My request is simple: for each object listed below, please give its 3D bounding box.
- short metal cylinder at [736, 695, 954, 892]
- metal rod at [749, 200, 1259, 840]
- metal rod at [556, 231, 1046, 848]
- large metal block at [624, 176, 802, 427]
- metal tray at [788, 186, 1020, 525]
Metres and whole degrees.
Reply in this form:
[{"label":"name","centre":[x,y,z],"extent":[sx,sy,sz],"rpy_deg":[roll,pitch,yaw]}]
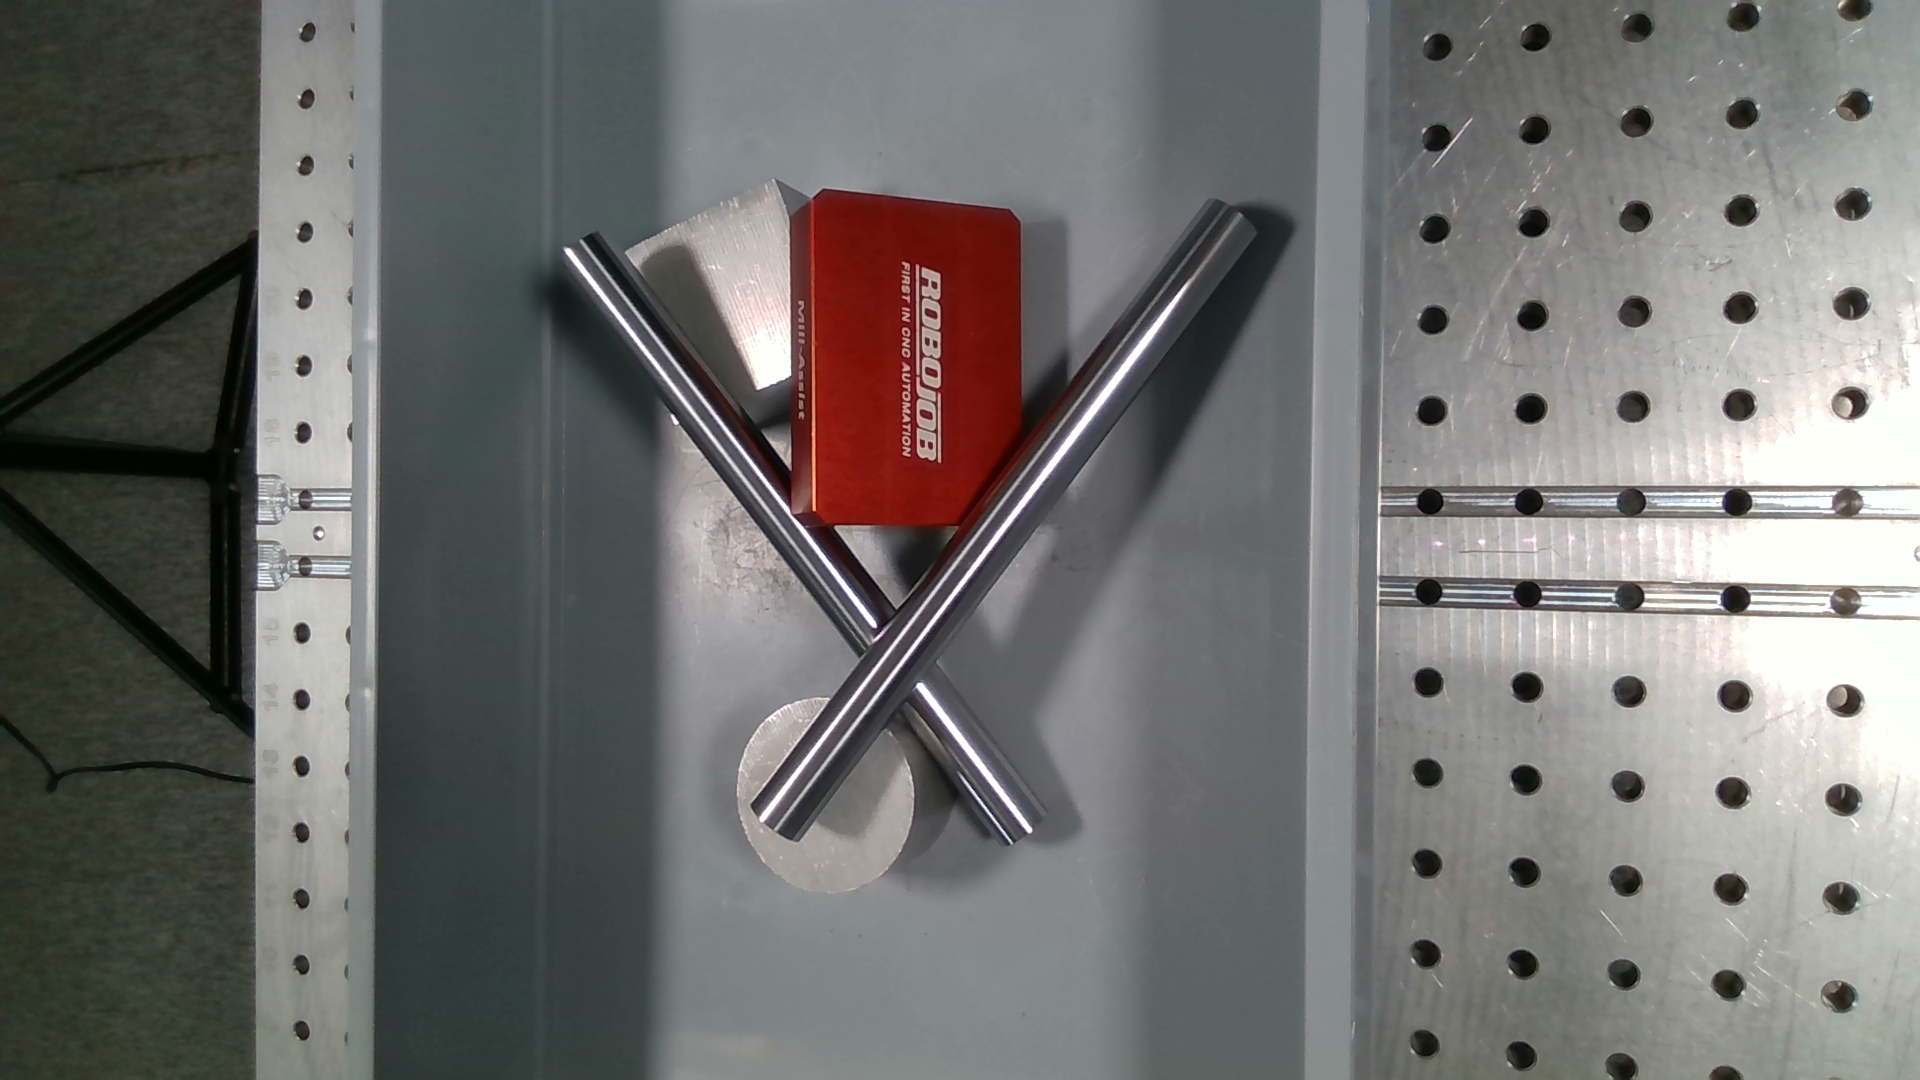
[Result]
[{"label":"short metal cylinder","centre":[-0.048,0.104,0.589],"extent":[0.080,0.050,0.080],"rpy_deg":[0,90,20]},{"label":"metal rod","centre":[0.017,-0.008,0.547],"extent":[0.025,0.025,0.300],"rpy_deg":[38,90,16]},{"label":"metal rod","centre":[-0.064,0.001,0.569],"extent":[0.025,0.025,0.300],"rpy_deg":[-37,92,17]},{"label":"large metal block","centre":[-0.092,-0.099,0.601],"extent":[0.080,0.050,0.080],"rpy_deg":[-21,83,19]},{"label":"metal tray","centre":[-0.022,-0.071,0.560],"extent":[0.090,0.030,0.130],"rpy_deg":[1,89,-24]}]
